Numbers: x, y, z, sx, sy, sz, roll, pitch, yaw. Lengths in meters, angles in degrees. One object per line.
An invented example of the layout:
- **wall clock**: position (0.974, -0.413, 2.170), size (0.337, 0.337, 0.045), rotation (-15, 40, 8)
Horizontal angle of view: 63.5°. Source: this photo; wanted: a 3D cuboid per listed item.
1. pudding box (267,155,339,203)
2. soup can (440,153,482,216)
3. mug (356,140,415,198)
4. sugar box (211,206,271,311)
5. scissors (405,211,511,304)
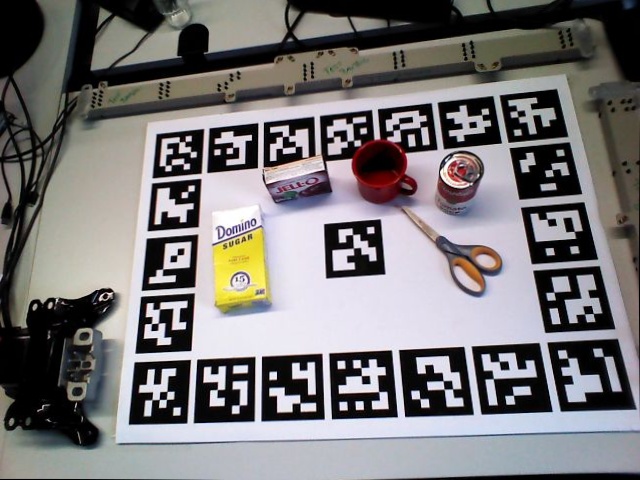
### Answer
- **pudding box**: position (-0.028, -0.107, 0.903), size (0.114, 0.090, 0.038), rotation (-13, 76, 4)
- **soup can**: position (0.236, -0.089, 0.858), size (0.068, 0.102, 0.067), rotation (-4, 69, 9)
- **mug**: position (0.120, -0.117, 0.890), size (0.093, 0.081, 0.117), rotation (-39, 68, -3)
- **sugar box**: position (-0.140, 0.031, 0.905), size (0.093, 0.045, 0.175), rotation (-8, 71, 9)
- **scissors**: position (0.221, 0.014, 0.861), size (0.203, 0.016, 0.088), rotation (43, 92, 19)
